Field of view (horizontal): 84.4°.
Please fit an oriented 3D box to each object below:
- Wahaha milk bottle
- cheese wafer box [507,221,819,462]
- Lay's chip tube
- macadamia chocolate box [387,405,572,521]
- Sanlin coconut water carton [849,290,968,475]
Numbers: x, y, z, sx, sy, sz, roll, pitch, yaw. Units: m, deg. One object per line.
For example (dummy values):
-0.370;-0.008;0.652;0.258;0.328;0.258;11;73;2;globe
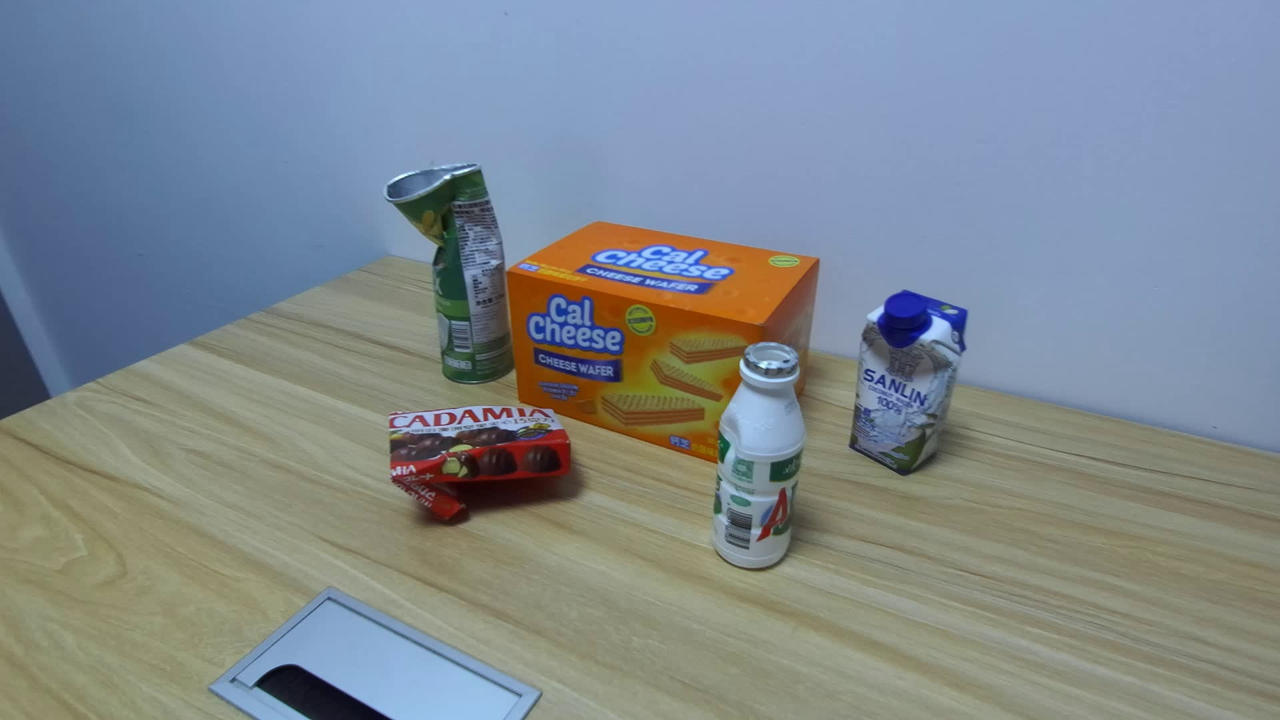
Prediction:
0.073;0.065;0.436;0.053;0.137;0.053;0;30;0;Wahaha milk bottle
0.021;-0.023;0.607;0.221;0.129;0.148;14;33;24;cheese wafer box
-0.163;-0.073;0.632;0.078;0.200;0.071;24;44;38;Lay's chip tube
-0.120;0.064;0.531;0.127;0.056;0.111;-9;32;-14;macadamia chocolate box
0.199;0.013;0.530;0.058;0.142;0.077;-28;39;-32;Sanlin coconut water carton
